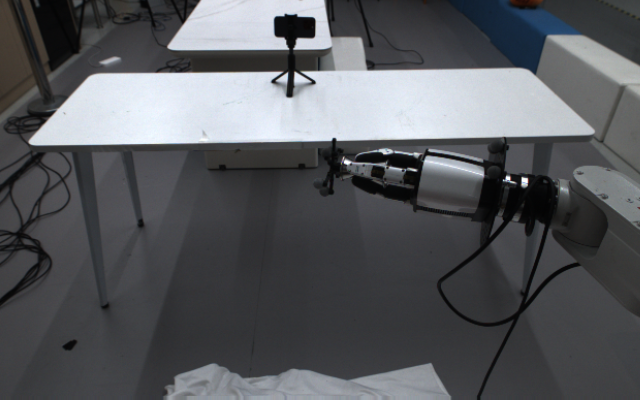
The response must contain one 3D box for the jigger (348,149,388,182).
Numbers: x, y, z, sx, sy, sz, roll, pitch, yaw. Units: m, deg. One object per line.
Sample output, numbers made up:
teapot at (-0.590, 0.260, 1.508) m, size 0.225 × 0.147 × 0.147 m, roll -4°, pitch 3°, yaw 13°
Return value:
jigger at (0.073, -0.048, 0.726) m, size 0.071 × 0.043 × 0.043 m, roll 7°, pitch 35°, yaw 16°
